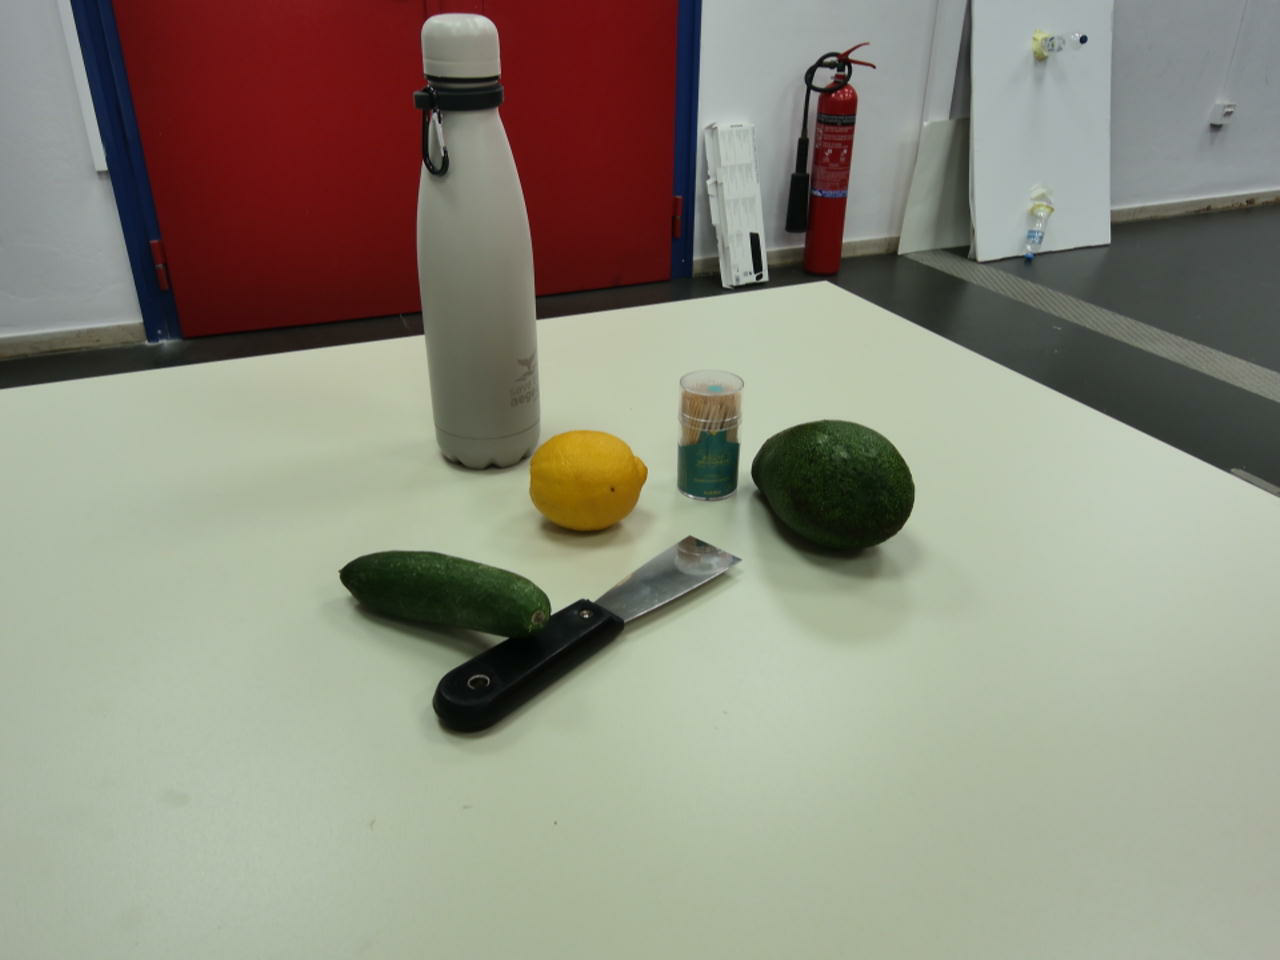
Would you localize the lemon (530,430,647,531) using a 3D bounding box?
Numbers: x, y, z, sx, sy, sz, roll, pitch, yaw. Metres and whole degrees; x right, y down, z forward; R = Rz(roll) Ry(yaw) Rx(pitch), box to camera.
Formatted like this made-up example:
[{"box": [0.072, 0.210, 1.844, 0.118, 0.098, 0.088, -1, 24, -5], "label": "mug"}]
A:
[{"box": [-0.032, 0.001, 0.590, 0.067, 0.059, 0.060, 8, 27, 16], "label": "lemon"}]
